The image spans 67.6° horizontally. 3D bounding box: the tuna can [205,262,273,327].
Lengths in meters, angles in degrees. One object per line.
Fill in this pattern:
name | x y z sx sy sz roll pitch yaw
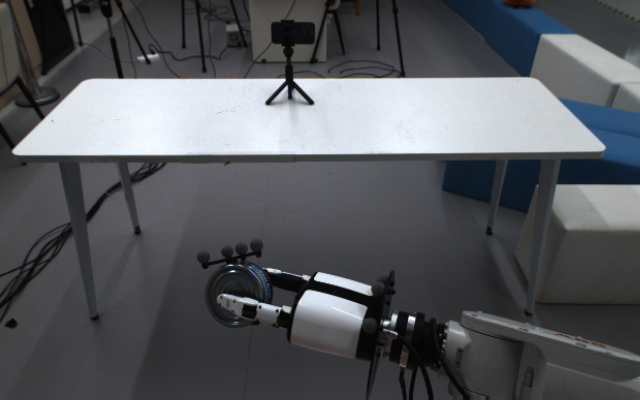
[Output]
tuna can | -0.105 0.131 0.641 0.085 0.085 0.034 12 3 14
